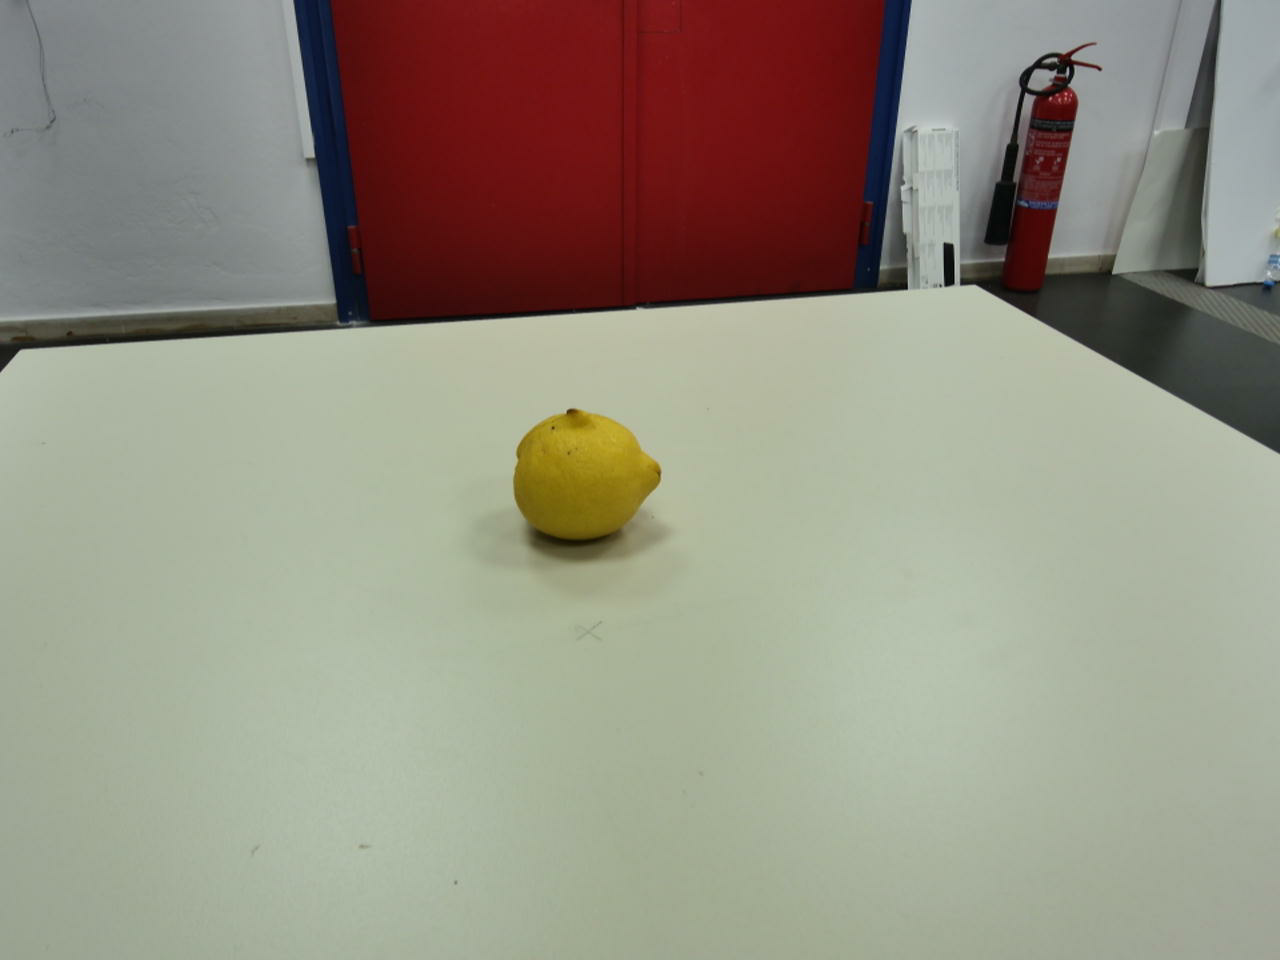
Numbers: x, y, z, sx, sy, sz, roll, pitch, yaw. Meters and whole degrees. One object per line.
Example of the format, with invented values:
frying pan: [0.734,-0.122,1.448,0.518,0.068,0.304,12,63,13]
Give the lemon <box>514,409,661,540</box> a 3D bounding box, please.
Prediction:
lemon: [-0.032,-0.005,0.522,0.071,0.071,0.070,23,34,38]
